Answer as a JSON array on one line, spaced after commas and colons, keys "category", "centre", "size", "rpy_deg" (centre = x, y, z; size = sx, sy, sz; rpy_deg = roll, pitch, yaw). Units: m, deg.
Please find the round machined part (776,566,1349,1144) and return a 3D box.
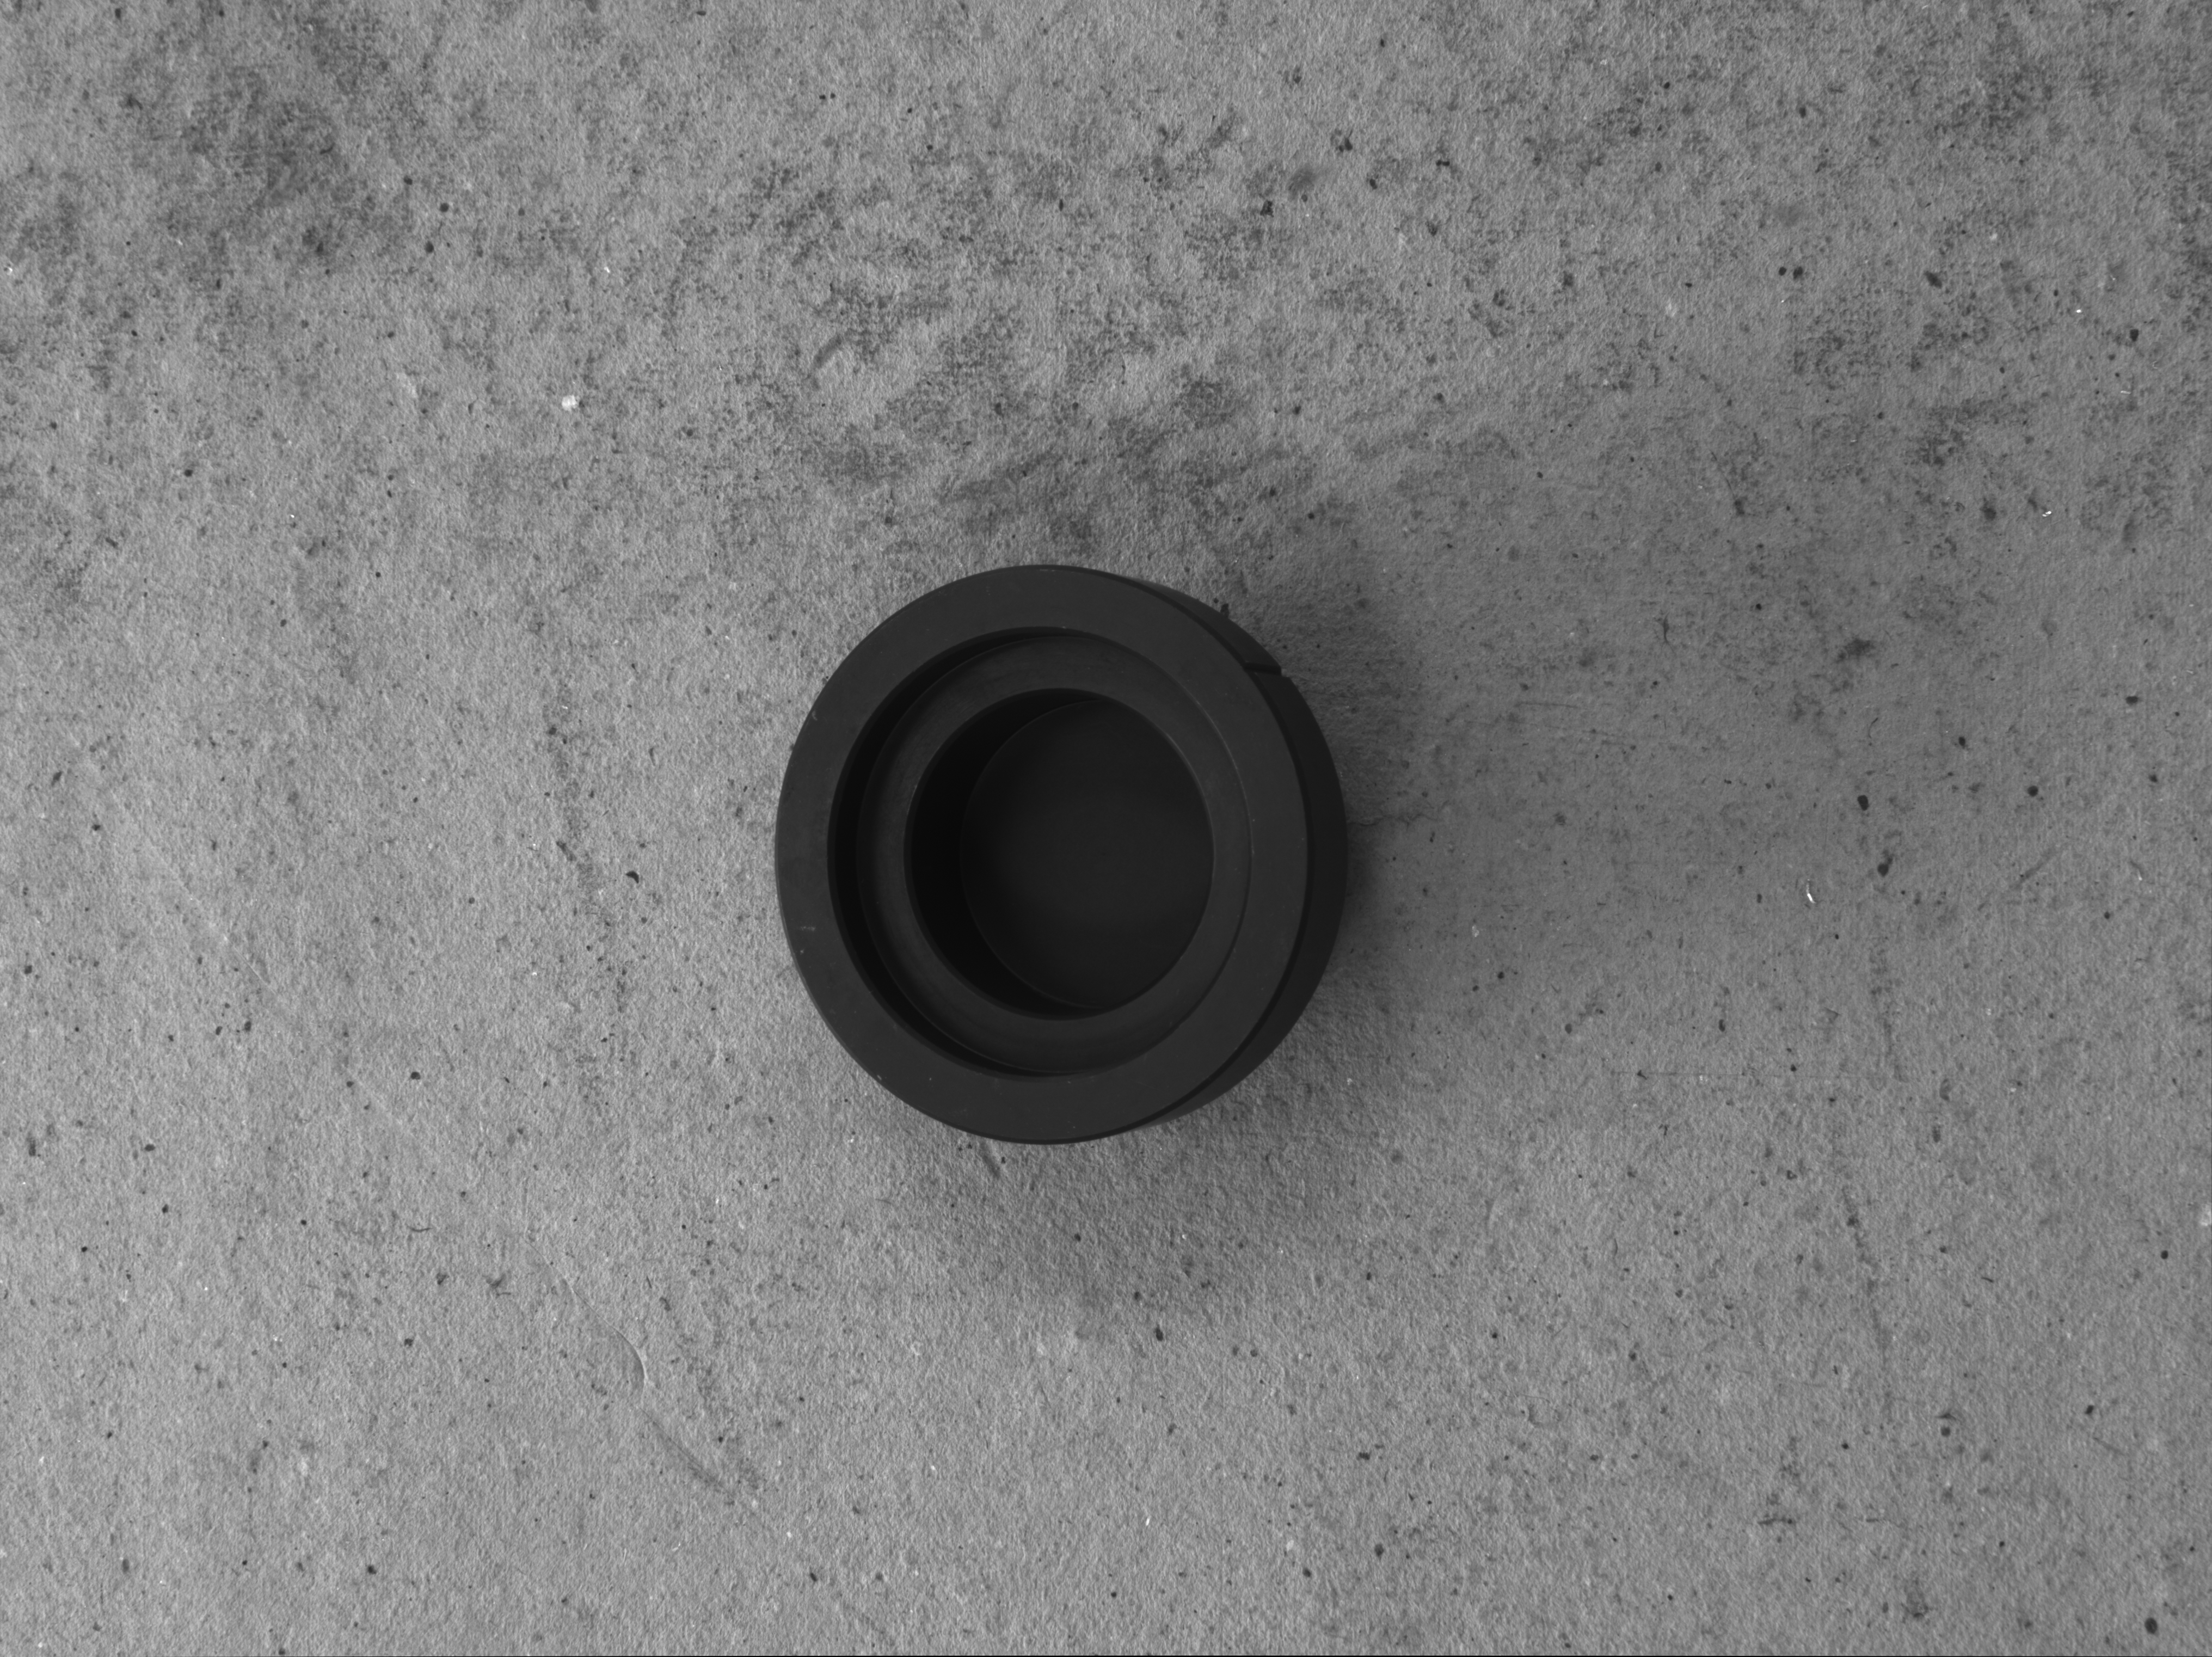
[{"category": "round machined part", "centre": [-0.004, 0.005, 0.640], "size": [0.098, 0.042, 0.098], "rpy_deg": [0, 90, 20]}]
